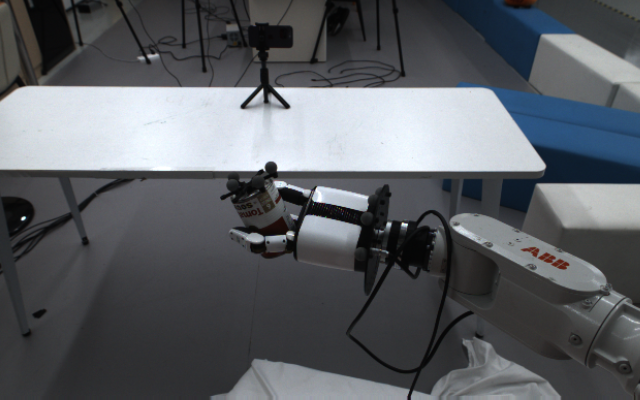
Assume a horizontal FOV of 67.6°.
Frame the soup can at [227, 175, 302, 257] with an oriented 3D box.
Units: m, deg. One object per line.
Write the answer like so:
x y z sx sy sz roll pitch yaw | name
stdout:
-0.077 0.026 0.708 0.067 0.101 0.067 -21 24 10 | soup can
